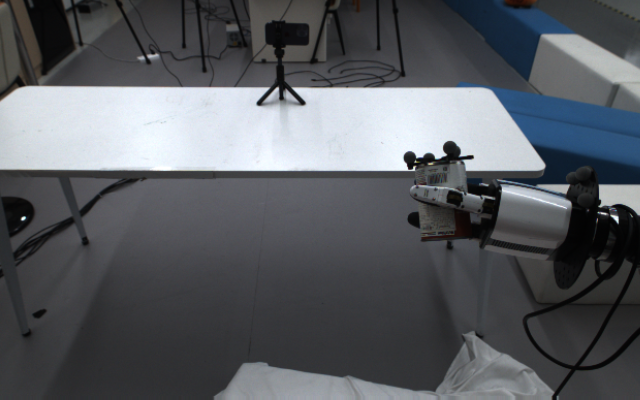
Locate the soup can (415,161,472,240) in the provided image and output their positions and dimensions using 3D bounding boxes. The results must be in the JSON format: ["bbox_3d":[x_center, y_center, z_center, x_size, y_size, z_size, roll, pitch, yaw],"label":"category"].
[{"bbox_3d":[0.167,0.002,0.649,0.067,0.101,0.067,-4,-5,0],"label":"soup can"}]
